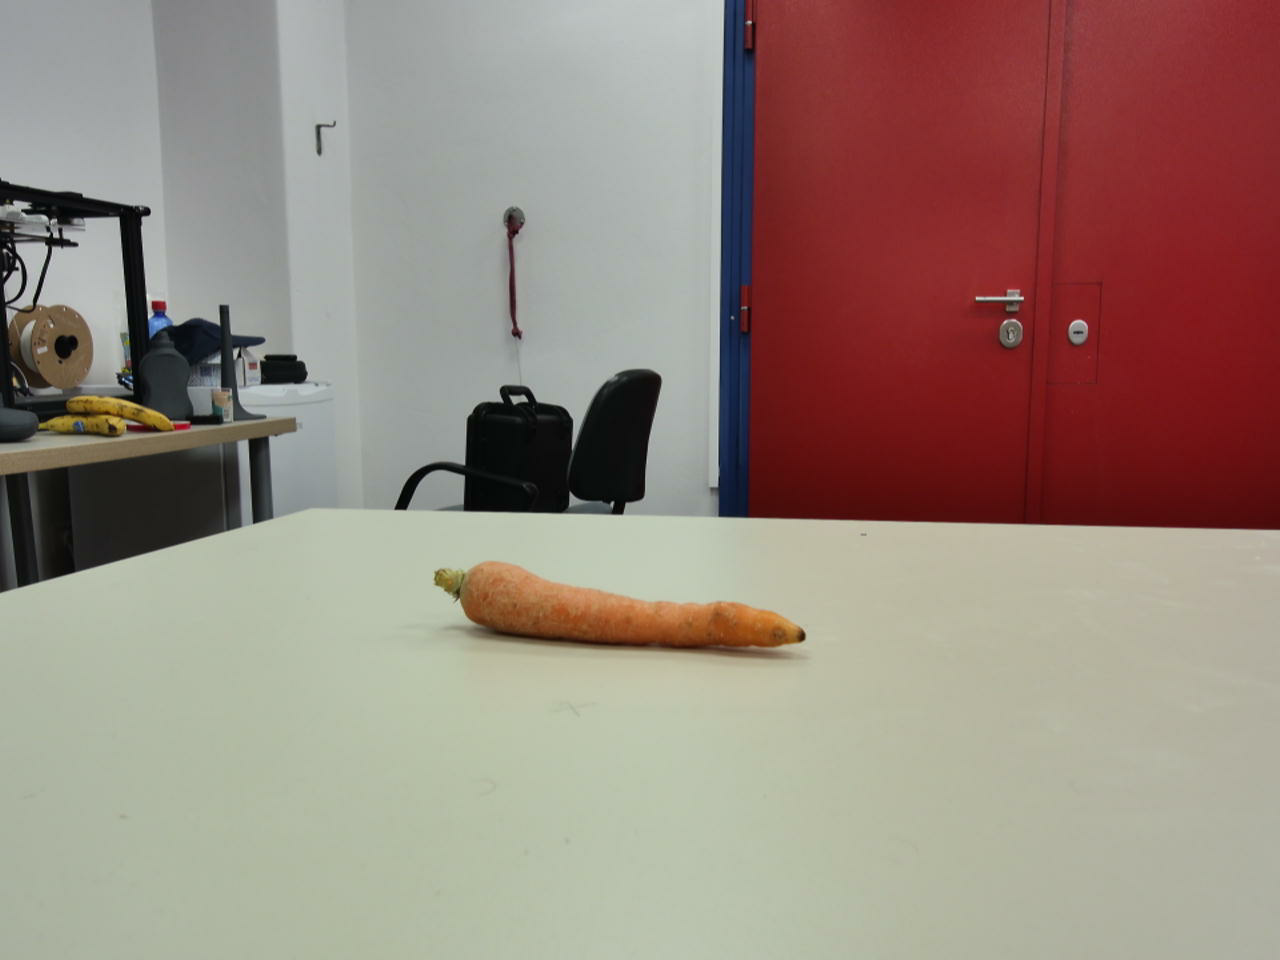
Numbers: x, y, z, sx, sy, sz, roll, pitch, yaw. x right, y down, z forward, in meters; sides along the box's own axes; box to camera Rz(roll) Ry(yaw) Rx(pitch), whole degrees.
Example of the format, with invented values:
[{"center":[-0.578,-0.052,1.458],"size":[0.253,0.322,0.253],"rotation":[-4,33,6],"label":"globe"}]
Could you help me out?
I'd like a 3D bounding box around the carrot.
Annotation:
[{"center":[-0.014,0.055,0.437],"size":[0.173,0.032,0.030],"rotation":[1,4,22],"label":"carrot"}]
